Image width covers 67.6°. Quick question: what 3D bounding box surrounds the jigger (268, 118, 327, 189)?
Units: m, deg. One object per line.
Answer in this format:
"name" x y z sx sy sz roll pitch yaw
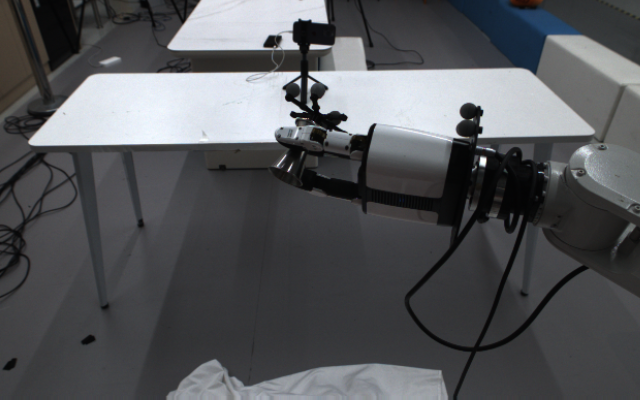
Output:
"jigger" -0.026 -0.057 0.557 0.043 0.043 0.071 20 73 24
